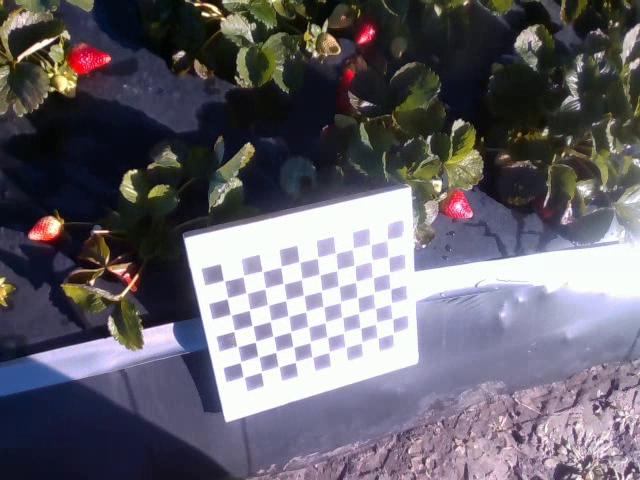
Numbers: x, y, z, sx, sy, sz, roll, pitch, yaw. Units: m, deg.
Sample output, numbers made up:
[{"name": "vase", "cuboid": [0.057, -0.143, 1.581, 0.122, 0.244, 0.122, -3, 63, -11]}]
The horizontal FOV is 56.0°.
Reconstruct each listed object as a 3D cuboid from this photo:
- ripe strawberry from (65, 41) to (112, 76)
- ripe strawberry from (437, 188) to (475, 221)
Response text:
[{"name": "ripe strawberry", "cuboid": [-0.309, -0.243, 0.800, 0.064, 0.050, 0.052, -3, 23, -7]}, {"name": "ripe strawberry", "cuboid": [0.200, -0.046, 0.856, 0.054, 0.048, 0.030, 32, 9, -26]}]
